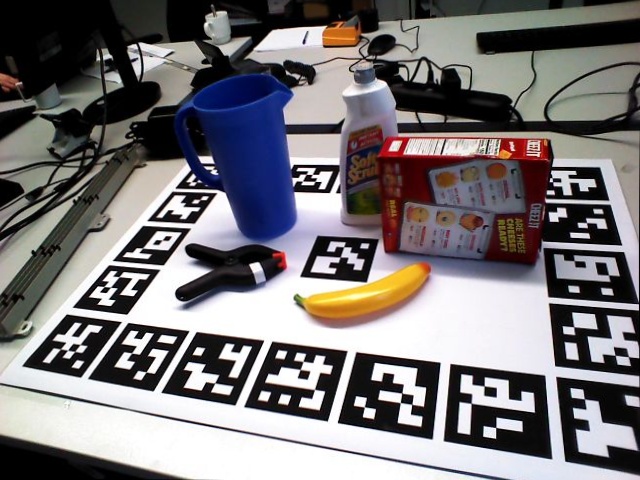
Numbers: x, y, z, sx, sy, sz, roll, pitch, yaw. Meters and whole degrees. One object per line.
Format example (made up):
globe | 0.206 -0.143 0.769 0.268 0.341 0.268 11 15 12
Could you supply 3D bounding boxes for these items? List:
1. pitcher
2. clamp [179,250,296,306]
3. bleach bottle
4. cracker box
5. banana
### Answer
pitcher | -0.114 -0.130 0.810 0.189 0.243 0.132 -7 35 0
clamp | -0.120 0.048 0.779 0.165 0.036 0.121 -6 34 3
bleach bottle | 0.078 -0.131 0.795 0.103 0.251 0.067 2 37 17
cracker box | 0.211 -0.058 0.708 0.215 0.164 0.071 2 35 20
banana | 0.086 0.077 0.699 0.197 0.039 0.074 -18 36 -10
